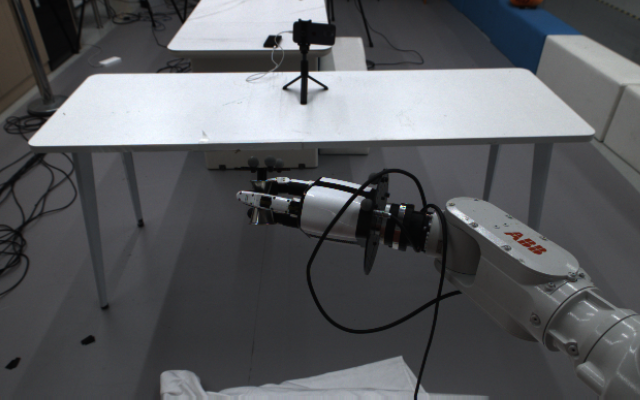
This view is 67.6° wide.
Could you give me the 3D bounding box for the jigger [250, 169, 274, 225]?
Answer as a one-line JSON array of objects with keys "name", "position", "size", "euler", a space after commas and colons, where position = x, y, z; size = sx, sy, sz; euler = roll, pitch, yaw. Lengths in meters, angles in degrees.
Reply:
[{"name": "jigger", "position": [-0.090, 0.002, 0.752], "size": [0.043, 0.071, 0.043], "euler": [0, 3, 0]}]
